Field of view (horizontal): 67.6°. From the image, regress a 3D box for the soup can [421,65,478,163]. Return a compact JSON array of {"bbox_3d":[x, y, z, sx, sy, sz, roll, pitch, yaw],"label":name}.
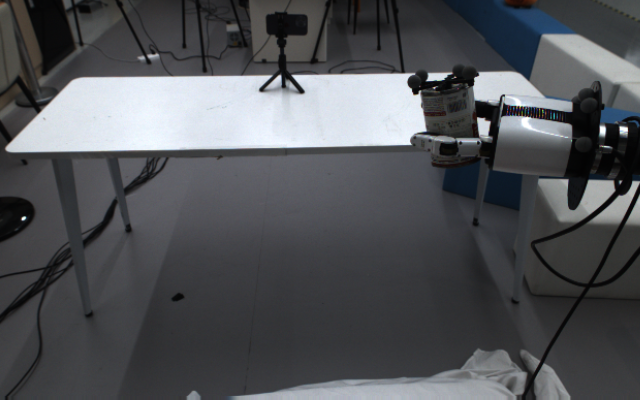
[{"bbox_3d":[0.176,-0.101,0.640,0.067,0.101,0.067,-13,20,5],"label":"soup can"}]
